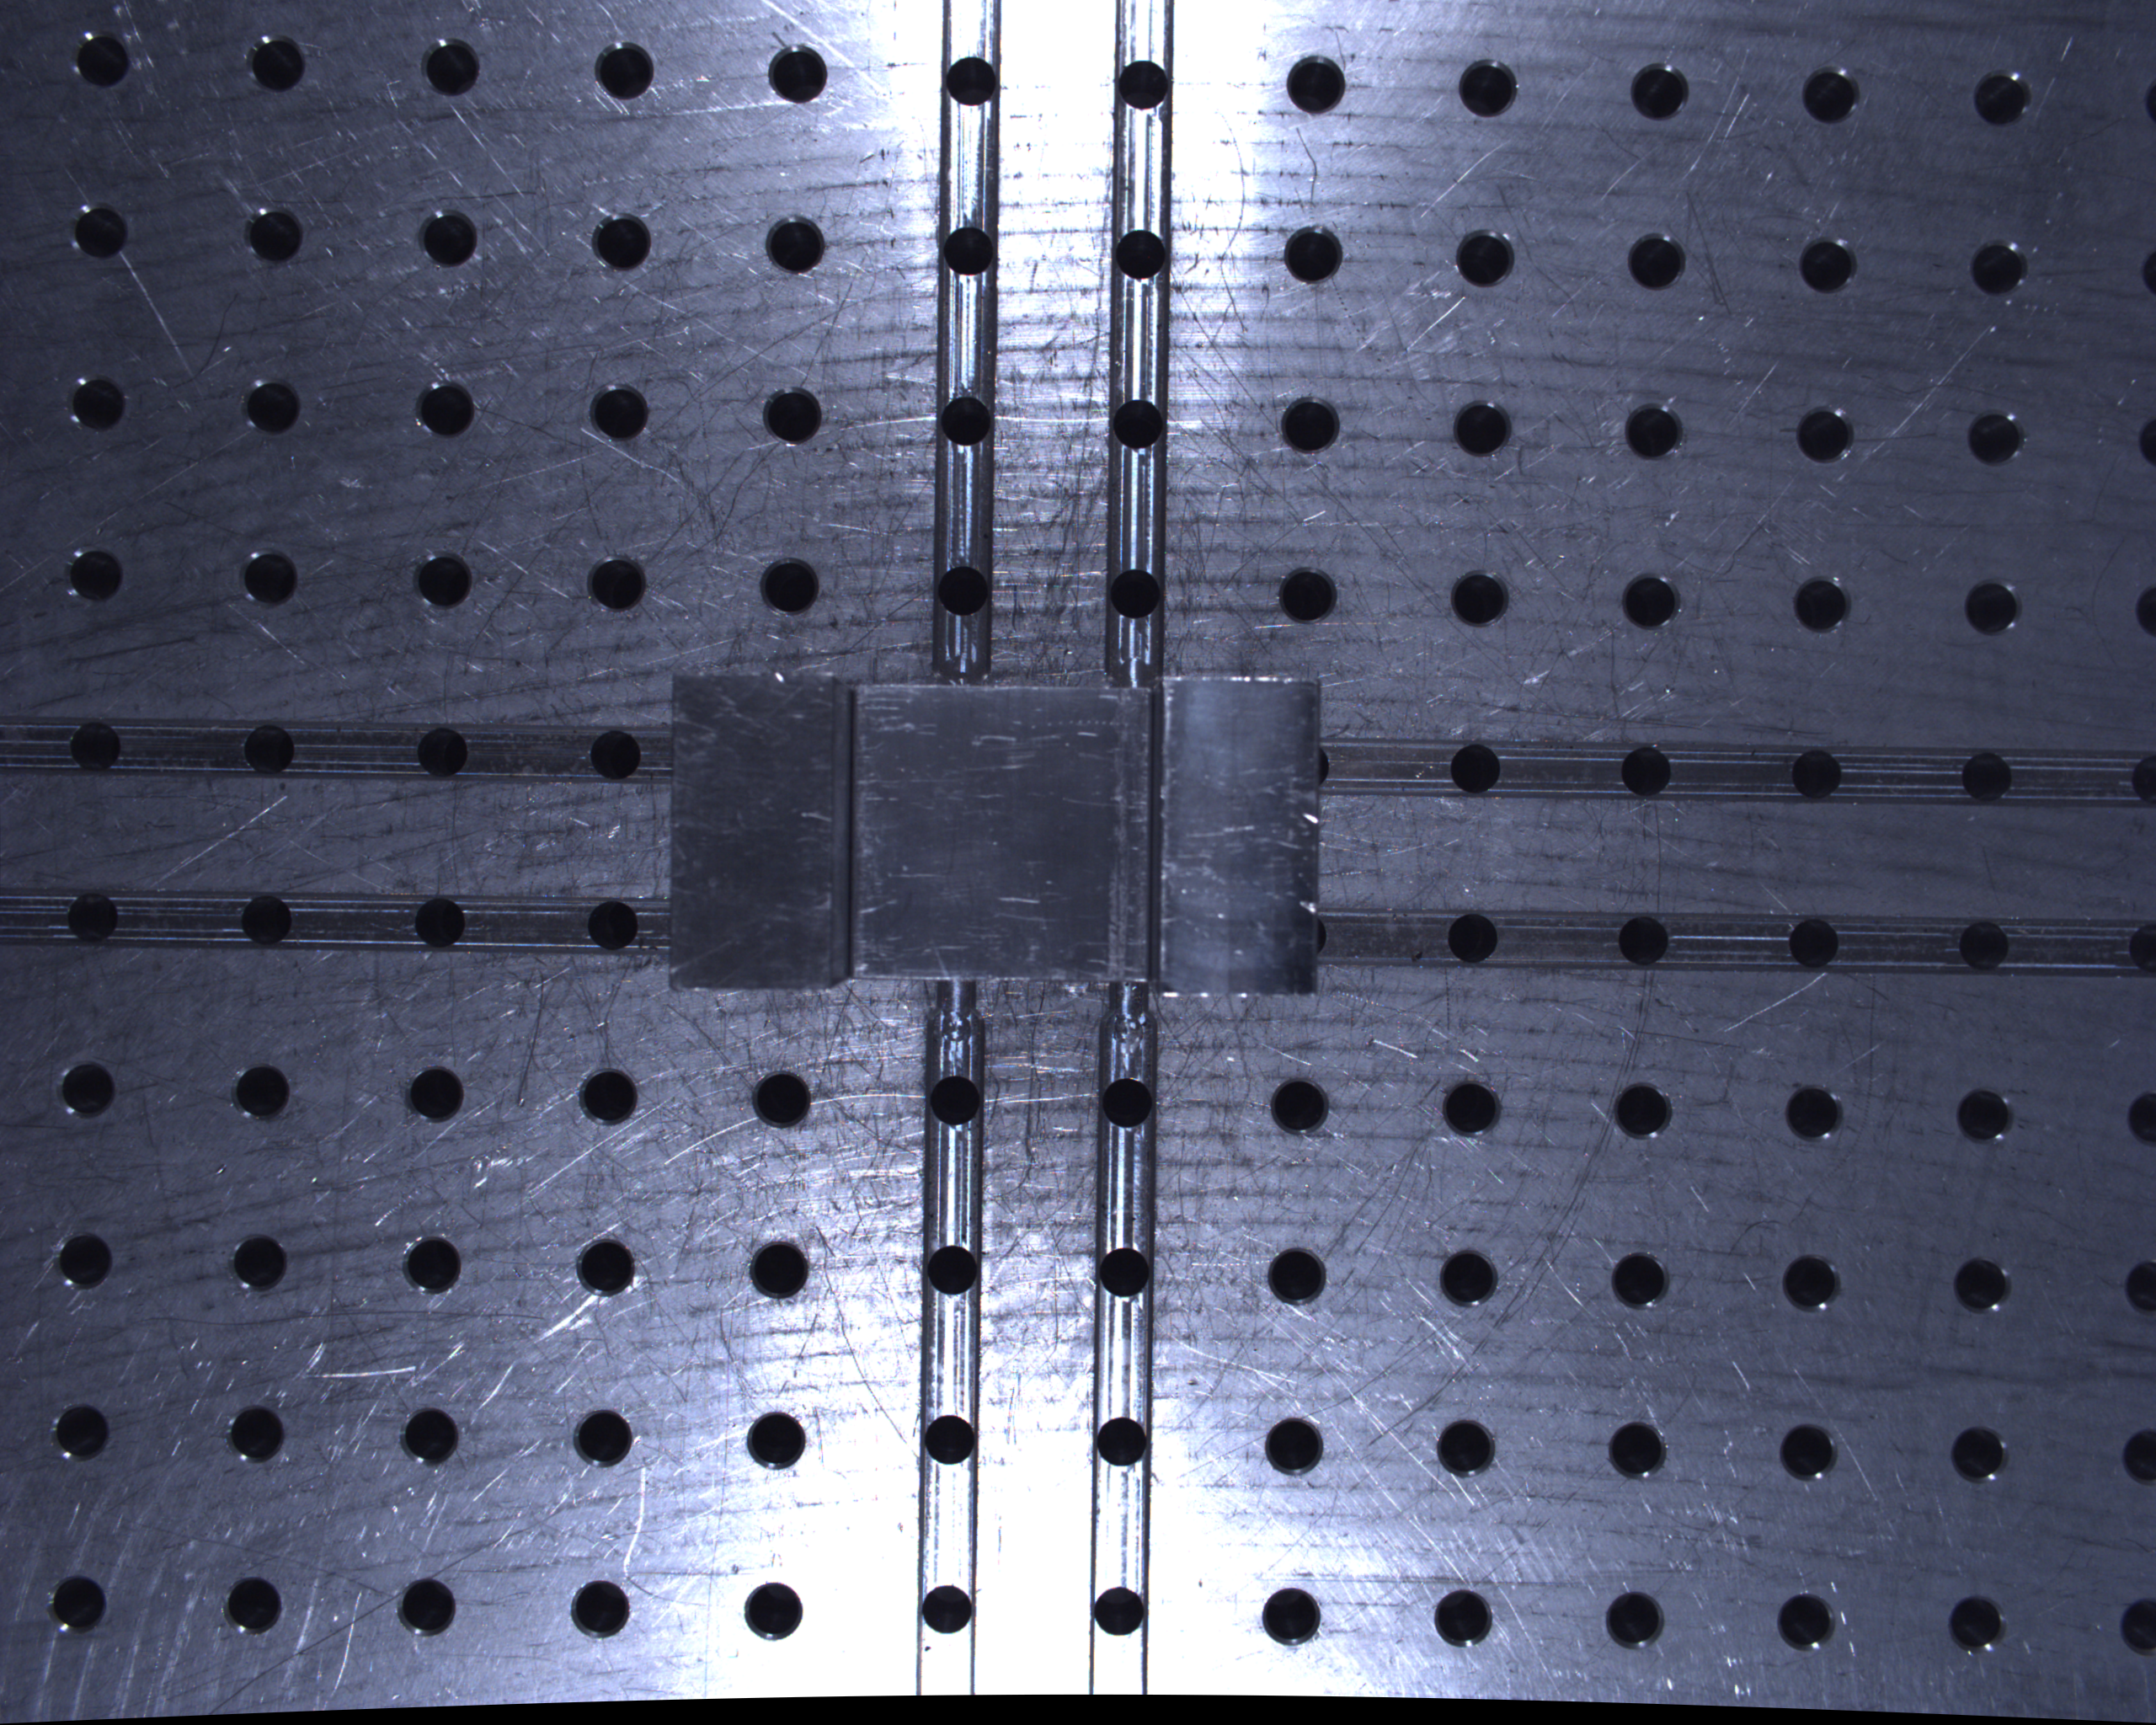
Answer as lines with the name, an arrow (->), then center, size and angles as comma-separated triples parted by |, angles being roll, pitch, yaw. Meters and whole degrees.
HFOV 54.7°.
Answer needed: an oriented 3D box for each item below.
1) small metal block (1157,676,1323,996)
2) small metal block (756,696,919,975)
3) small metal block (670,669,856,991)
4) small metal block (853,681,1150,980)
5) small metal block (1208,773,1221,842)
small metal block -> 0.025, -0.004, 0.350 | 0.025, 0.050, 0.050 | 1, 90, 0
small metal block -> -0.045, -0.005, 0.400 | 0.025, 0.050, 0.050 | 1, 90, 0
small metal block -> -0.051, -0.005, 0.349 | 0.025, 0.050, 0.050 | 1, 90, 0
small metal block -> -0.013, -0.006, 0.364 | 0.050, 0.025, 0.050 | 1, 90, -1
small metal block -> 0.020, -0.004, 0.401 | 0.025, 0.050, 0.050 | -1, 90, 0
